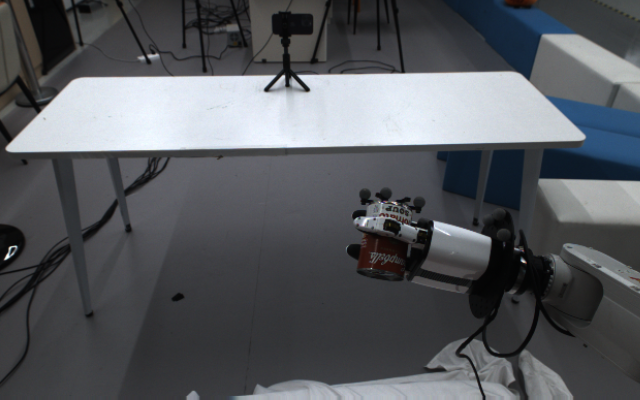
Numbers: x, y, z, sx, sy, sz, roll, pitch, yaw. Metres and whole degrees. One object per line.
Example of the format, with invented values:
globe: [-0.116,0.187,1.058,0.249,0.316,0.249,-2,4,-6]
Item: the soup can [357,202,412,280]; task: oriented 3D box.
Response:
soup can: [0.094,0.058,0.690,0.067,0.067,0.101,8,72,9]
